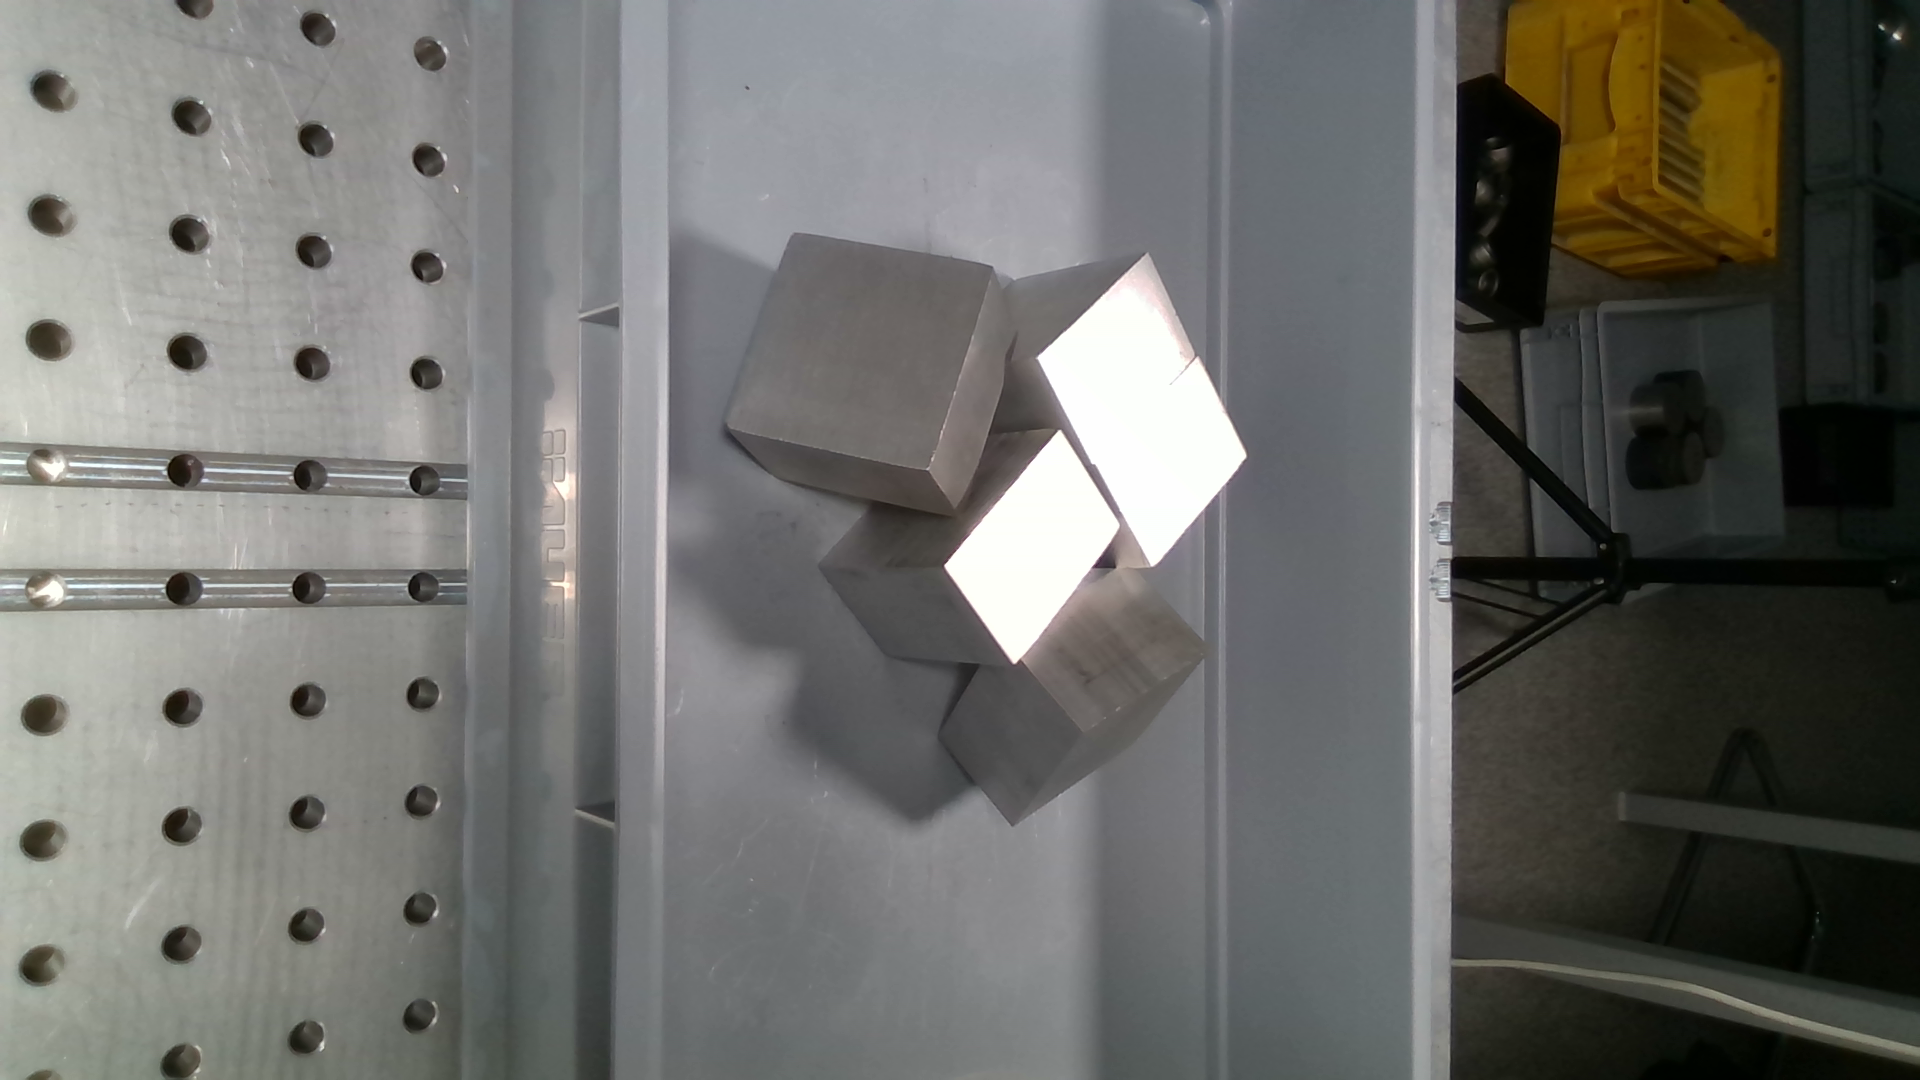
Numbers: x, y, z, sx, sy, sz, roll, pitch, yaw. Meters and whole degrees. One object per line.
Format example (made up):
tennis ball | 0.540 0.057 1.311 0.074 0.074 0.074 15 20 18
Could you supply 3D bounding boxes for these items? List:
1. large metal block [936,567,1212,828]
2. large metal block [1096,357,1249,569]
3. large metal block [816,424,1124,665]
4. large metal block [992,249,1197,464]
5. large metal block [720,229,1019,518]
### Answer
large metal block | 0.046 0.064 0.577 0.080 0.080 0.050 -26 67 -37
large metal block | 0.064 -0.033 0.600 0.080 0.080 0.050 -46 118 -30
large metal block | 0.004 0.001 0.548 0.080 0.080 0.050 -49 119 -29
large metal block | 0.038 -0.074 0.578 0.080 0.080 0.050 -45 117 -31
large metal block | -0.031 -0.061 0.511 0.050 0.080 0.080 55 50 -68
